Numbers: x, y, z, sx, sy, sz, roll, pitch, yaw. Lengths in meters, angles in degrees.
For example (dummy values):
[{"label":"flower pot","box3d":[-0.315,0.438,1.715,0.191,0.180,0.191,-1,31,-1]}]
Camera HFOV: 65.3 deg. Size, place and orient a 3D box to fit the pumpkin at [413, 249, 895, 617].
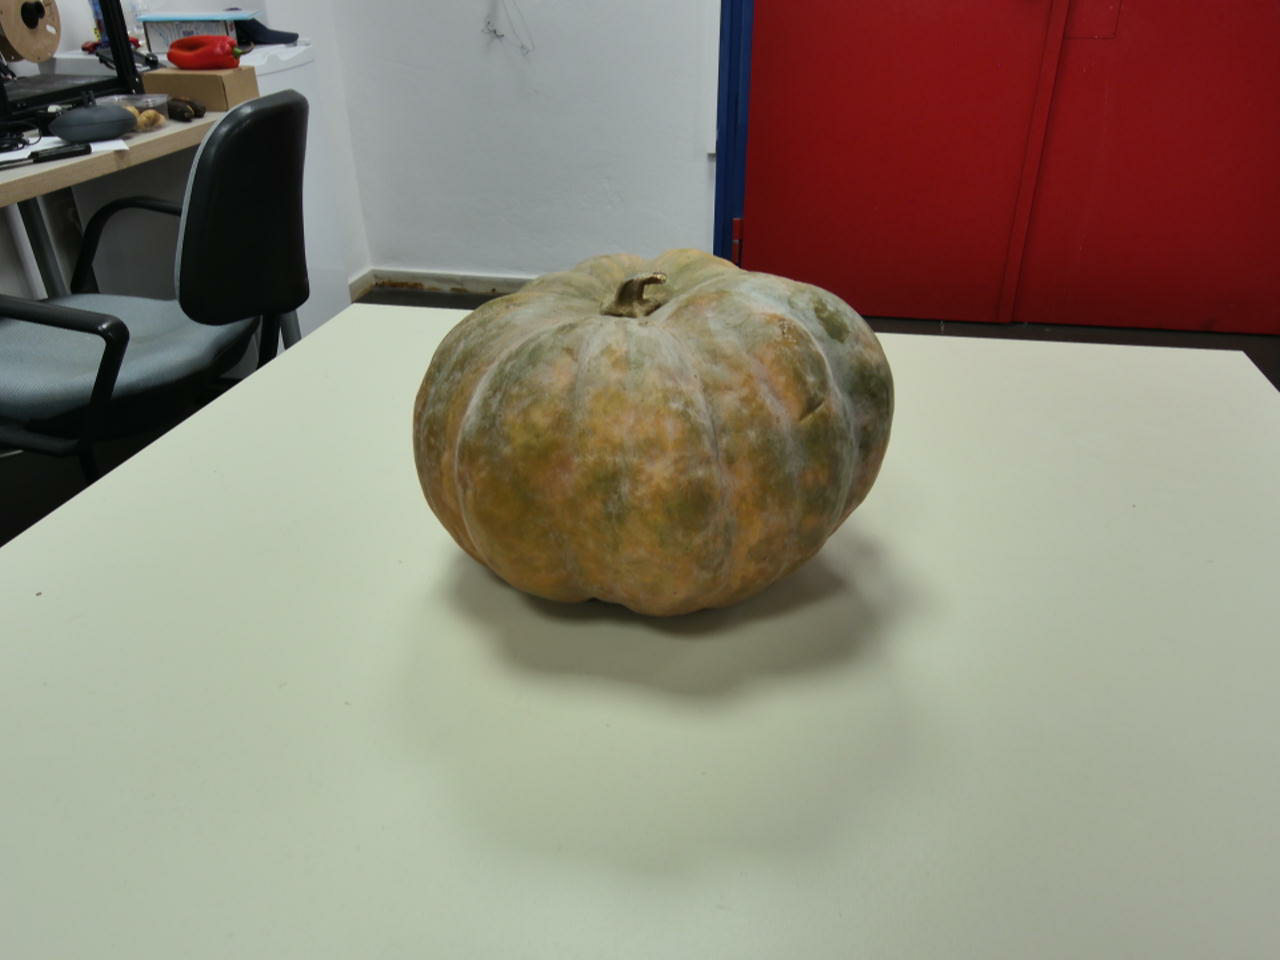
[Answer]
[{"label":"pumpkin","box3d":[0.001,-0.032,0.538,0.252,0.169,0.251,0,26,0]}]
